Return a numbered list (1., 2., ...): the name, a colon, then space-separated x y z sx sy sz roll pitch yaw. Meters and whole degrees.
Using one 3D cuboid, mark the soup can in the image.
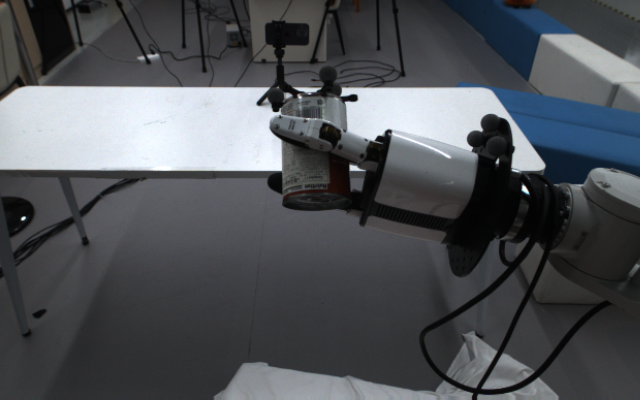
1. soup can: -0.005 -0.048 0.478 0.067 0.067 0.101 -1 76 -4
